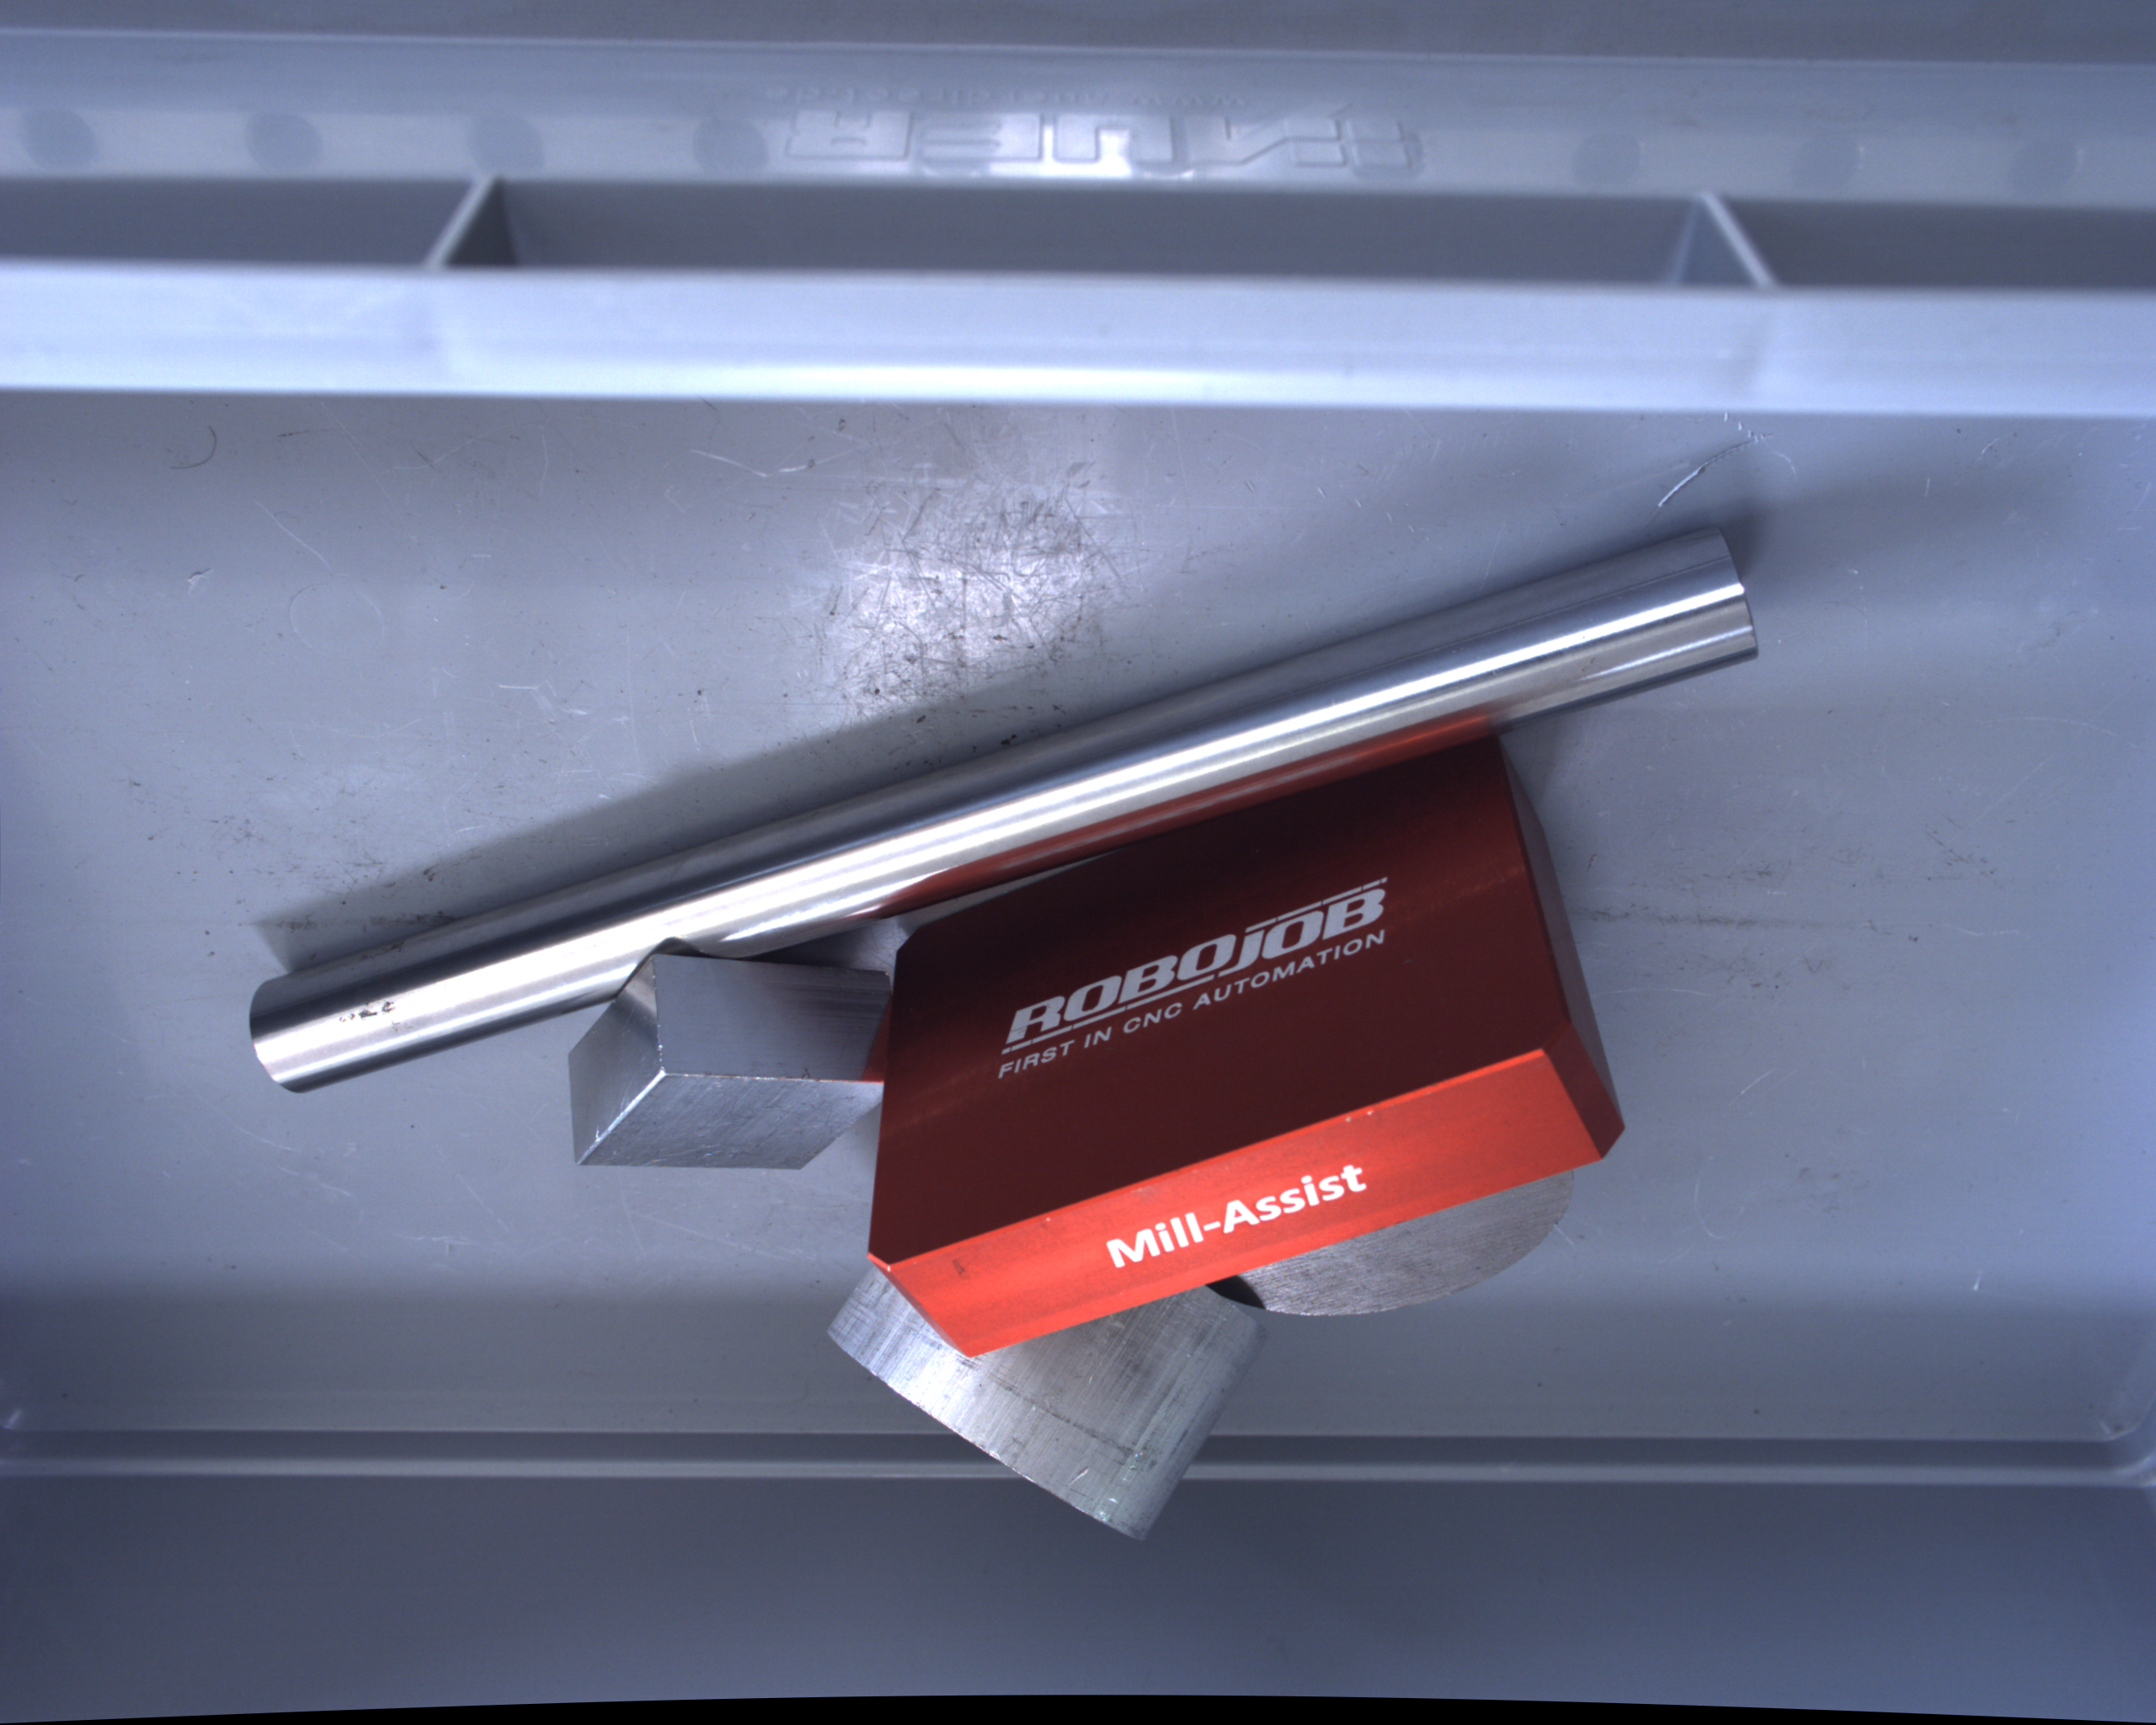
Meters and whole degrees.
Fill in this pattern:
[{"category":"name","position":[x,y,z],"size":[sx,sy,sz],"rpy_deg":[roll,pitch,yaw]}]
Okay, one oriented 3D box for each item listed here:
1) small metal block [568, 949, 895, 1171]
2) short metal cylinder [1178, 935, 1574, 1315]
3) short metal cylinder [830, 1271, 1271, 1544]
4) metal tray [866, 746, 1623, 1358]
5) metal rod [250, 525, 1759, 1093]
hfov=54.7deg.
[{"category":"small metal block","position":[-0.071,0.042,0.425],"size":[0.050,0.025,0.050],"rpy_deg":[7,149,-31]},{"category":"short metal cylinder","position":[0.056,0.051,0.427],"size":[0.081,0.050,0.080],"rpy_deg":[-3,139,-3]},{"category":"short metal cylinder","position":[-0.006,0.101,0.448],"size":[0.080,0.080,0.050],"rpy_deg":[39,78,-29]},{"category":"metal tray","position":[0.027,0.032,0.392],"size":[0.130,0.090,0.030],"rpy_deg":[-21,127,16]},{"category":"metal rod","position":[-0.024,-0.006,0.402],"size":[0.301,0.025,0.025],"rpy_deg":[-17,128,13]}]
